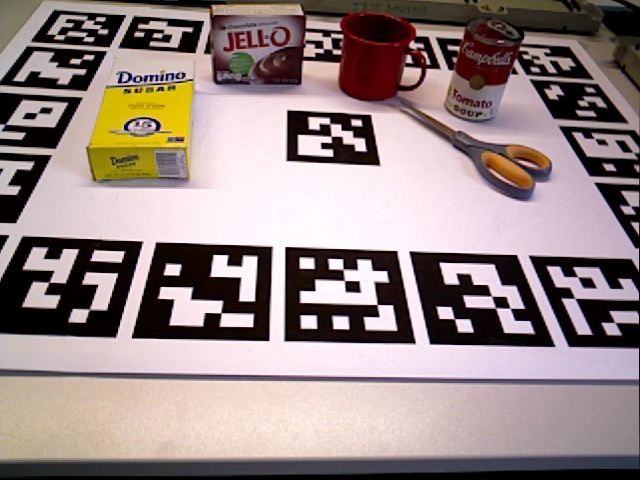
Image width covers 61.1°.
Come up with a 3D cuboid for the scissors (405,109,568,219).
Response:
[{"bbox_3d":[0.176,-0.100,0.607,0.086,0.016,0.202,-39,63,-23],"label":"scissors"}]

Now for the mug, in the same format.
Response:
[{"bbox_3d":[0.081,-0.223,0.665,0.091,0.083,0.117,-29,56,-26],"label":"mug"}]

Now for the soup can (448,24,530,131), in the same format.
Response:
[{"bbox_3d":[0.198,-0.192,0.647,0.067,0.104,0.067,3,46,-4],"label":"soup can"}]

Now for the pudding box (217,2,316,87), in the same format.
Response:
[{"bbox_3d":[-0.066,-0.232,0.647,0.112,0.092,0.038,-5,55,-12],"label":"pudding box"}]

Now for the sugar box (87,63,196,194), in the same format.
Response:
[{"bbox_3d":[-0.181,-0.124,0.575,0.092,0.046,0.174,-2,49,-6],"label":"sugar box"}]
